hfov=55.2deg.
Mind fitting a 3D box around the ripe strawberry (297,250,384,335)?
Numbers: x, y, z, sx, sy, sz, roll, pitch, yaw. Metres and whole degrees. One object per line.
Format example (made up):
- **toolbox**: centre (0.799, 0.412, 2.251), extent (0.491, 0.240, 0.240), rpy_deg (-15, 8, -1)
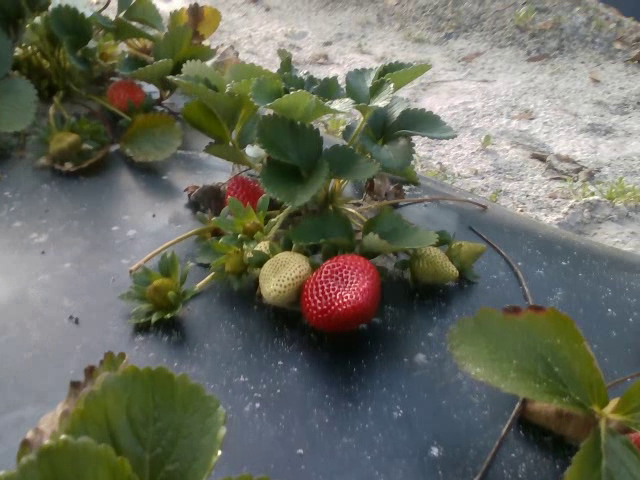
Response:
- **ripe strawberry**: centre (0.011, 0.030, 0.321), extent (0.051, 0.048, 0.055), rpy_deg (-38, 5, 2)
